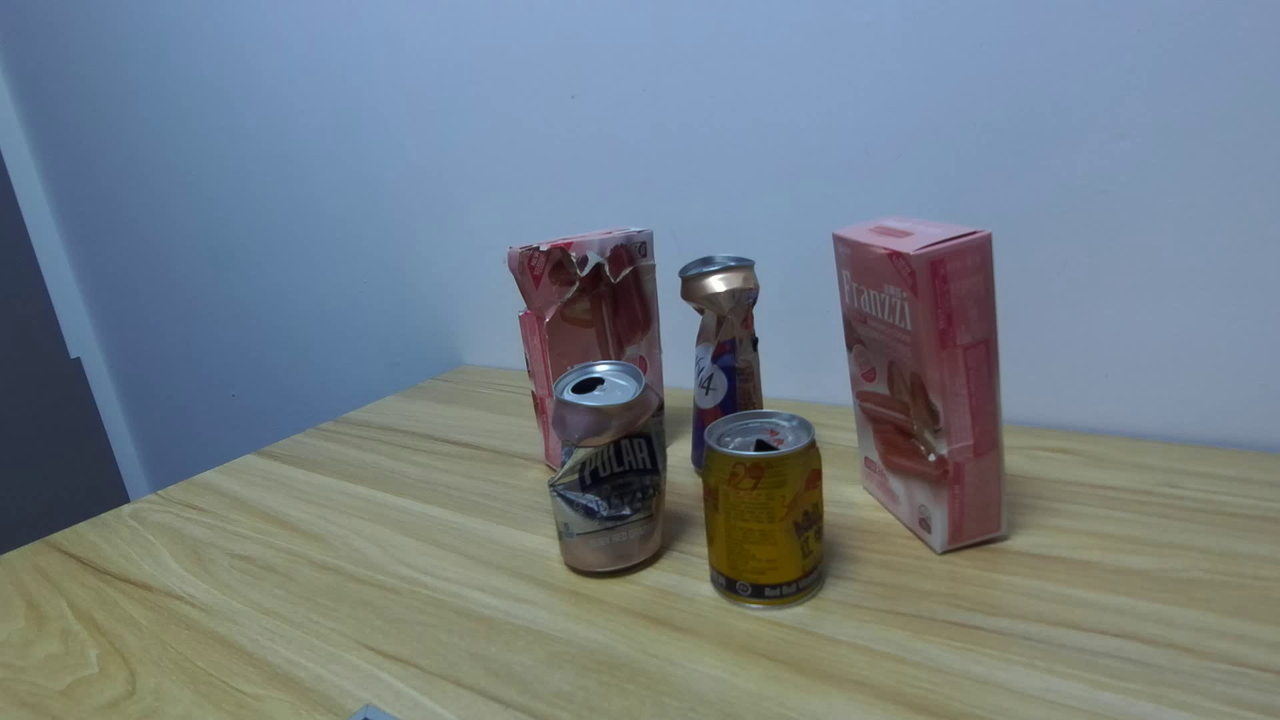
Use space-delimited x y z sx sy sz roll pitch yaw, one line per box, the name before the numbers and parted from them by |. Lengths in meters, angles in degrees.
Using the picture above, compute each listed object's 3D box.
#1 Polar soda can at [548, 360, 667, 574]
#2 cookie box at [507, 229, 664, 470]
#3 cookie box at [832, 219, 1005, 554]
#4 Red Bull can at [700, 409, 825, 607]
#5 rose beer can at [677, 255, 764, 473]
Polar soda can | -0.020 0.068 0.431 0.066 0.122 0.071 6 20 23
cookie box | -0.035 -0.005 0.561 0.105 0.186 0.059 -15 17 -24
cookie box | 0.171 0.015 0.427 0.049 0.188 0.105 -14 18 -6
Red Bull can | 0.069 0.082 0.396 0.069 0.092 0.069 -5 18 2
rose beer can | 0.065 0.007 0.524 0.073 0.162 0.068 8 22 43
